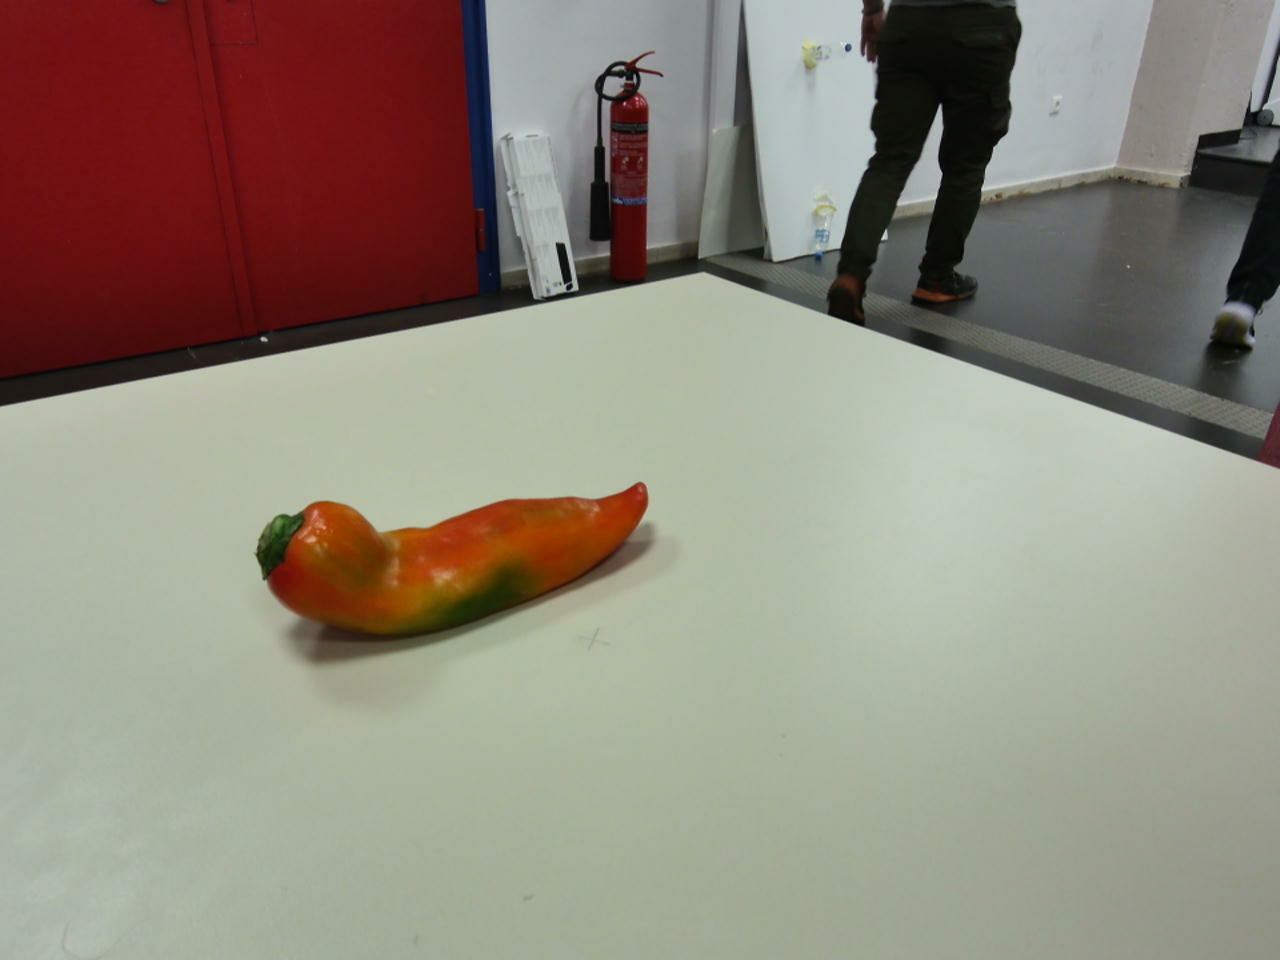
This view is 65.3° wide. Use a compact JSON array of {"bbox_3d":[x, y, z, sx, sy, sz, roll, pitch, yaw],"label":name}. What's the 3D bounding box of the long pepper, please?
[{"bbox_3d":[-0.077,0.025,0.480,0.199,0.065,0.066,-15,29,-29],"label":"long pepper"}]
